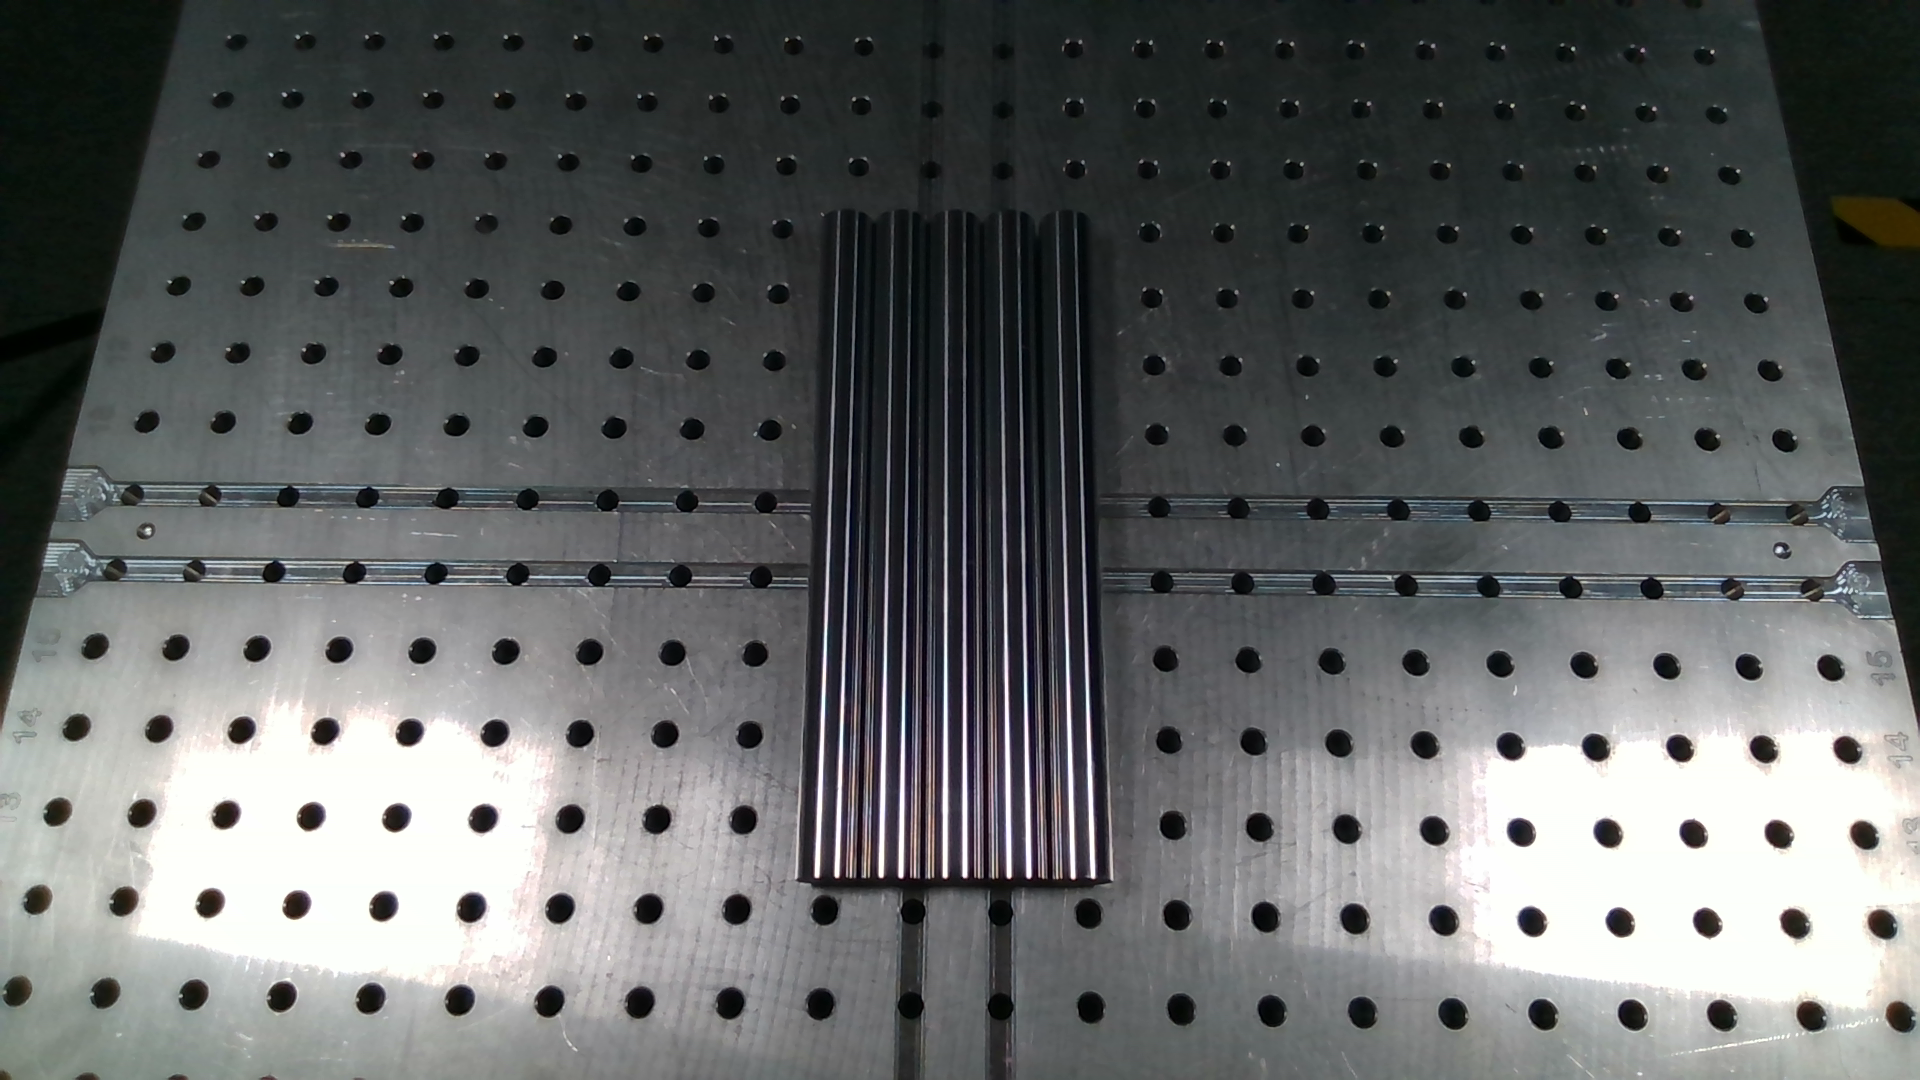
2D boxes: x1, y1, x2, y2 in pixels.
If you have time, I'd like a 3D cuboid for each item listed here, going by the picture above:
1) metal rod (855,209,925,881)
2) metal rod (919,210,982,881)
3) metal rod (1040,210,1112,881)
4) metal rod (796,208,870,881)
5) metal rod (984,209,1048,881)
[{"bbox_3d":[-0.028,-0.007,0.593,0.025,0.025,0.299,0,70,0],"label":"metal rod"},{"bbox_3d":[-0.003,-0.006,0.593,0.025,0.025,0.299,0,70,0],"label":"metal rod"},{"bbox_3d":[0.048,-0.006,0.593,0.025,0.025,0.299,0,70,0],"label":"metal rod"},{"bbox_3d":[-0.052,-0.007,0.593,0.025,0.025,0.299,0,70,0],"label":"metal rod"},{"bbox_3d":[0.023,-0.007,0.593,0.025,0.025,0.299,0,70,0],"label":"metal rod"}]
